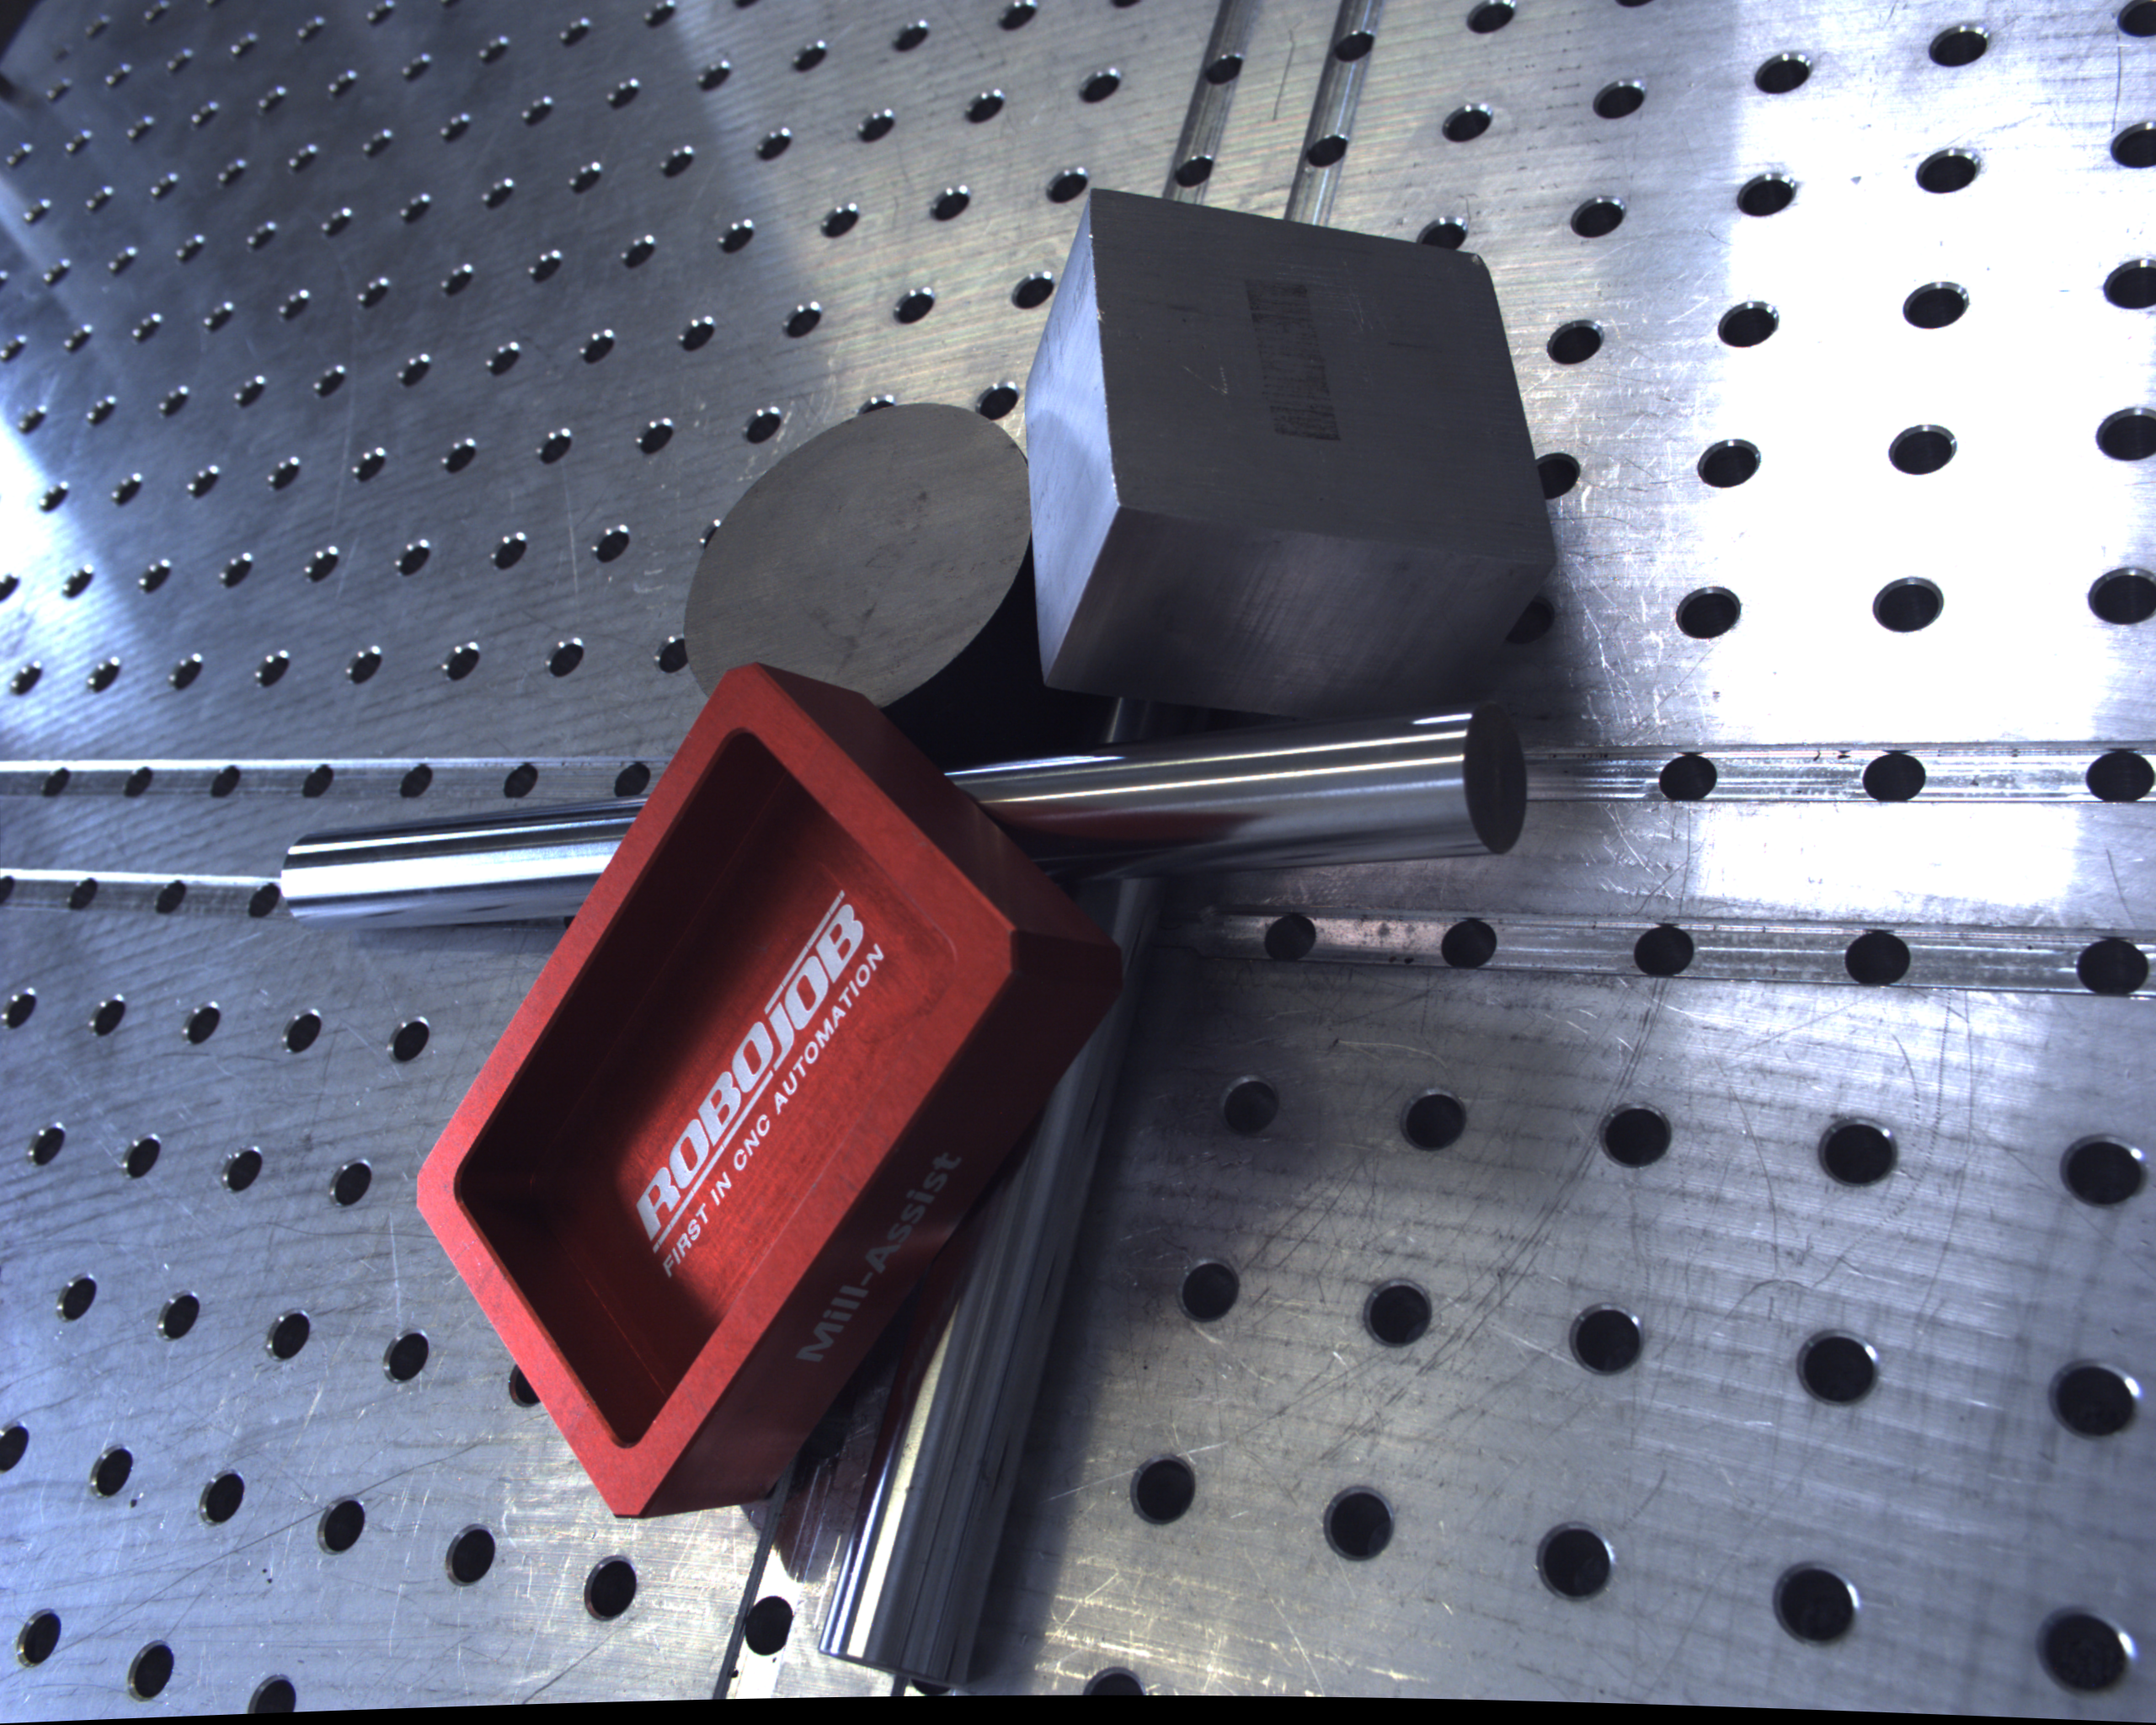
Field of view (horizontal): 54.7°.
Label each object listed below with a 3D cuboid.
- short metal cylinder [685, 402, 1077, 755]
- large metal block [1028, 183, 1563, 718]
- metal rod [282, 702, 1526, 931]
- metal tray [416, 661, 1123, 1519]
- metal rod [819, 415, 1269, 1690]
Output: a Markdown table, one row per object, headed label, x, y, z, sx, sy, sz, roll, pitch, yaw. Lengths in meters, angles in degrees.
| label | x | y | z | sx | sy | sz | roll | pitch | yaw |
| --- | --- | --- | --- | --- | --- | --- | --- | --- | --- |
| short metal cylinder | -0.035 | -0.050 | 0.440 | 0.080 | 0.050 | 0.080 | -13 | 56 | 21 |
| large metal block | 0.037 | -0.075 | 0.394 | 0.081 | 0.050 | 0.080 | 6 | 56 | -15 |
| metal rod | -0.057 | -0.004 | 0.420 | 0.300 | 0.025 | 0.025 | -4 | 60 | 34 |
| metal tray | -0.061 | 0.041 | 0.379 | 0.090 | 0.030 | 0.129 | 44 | 108 | 33 |
| metal rod | 0.005 | 0.001 | 0.405 | 0.025 | 0.025 | 0.300 | 1 | 62 | 29 |
